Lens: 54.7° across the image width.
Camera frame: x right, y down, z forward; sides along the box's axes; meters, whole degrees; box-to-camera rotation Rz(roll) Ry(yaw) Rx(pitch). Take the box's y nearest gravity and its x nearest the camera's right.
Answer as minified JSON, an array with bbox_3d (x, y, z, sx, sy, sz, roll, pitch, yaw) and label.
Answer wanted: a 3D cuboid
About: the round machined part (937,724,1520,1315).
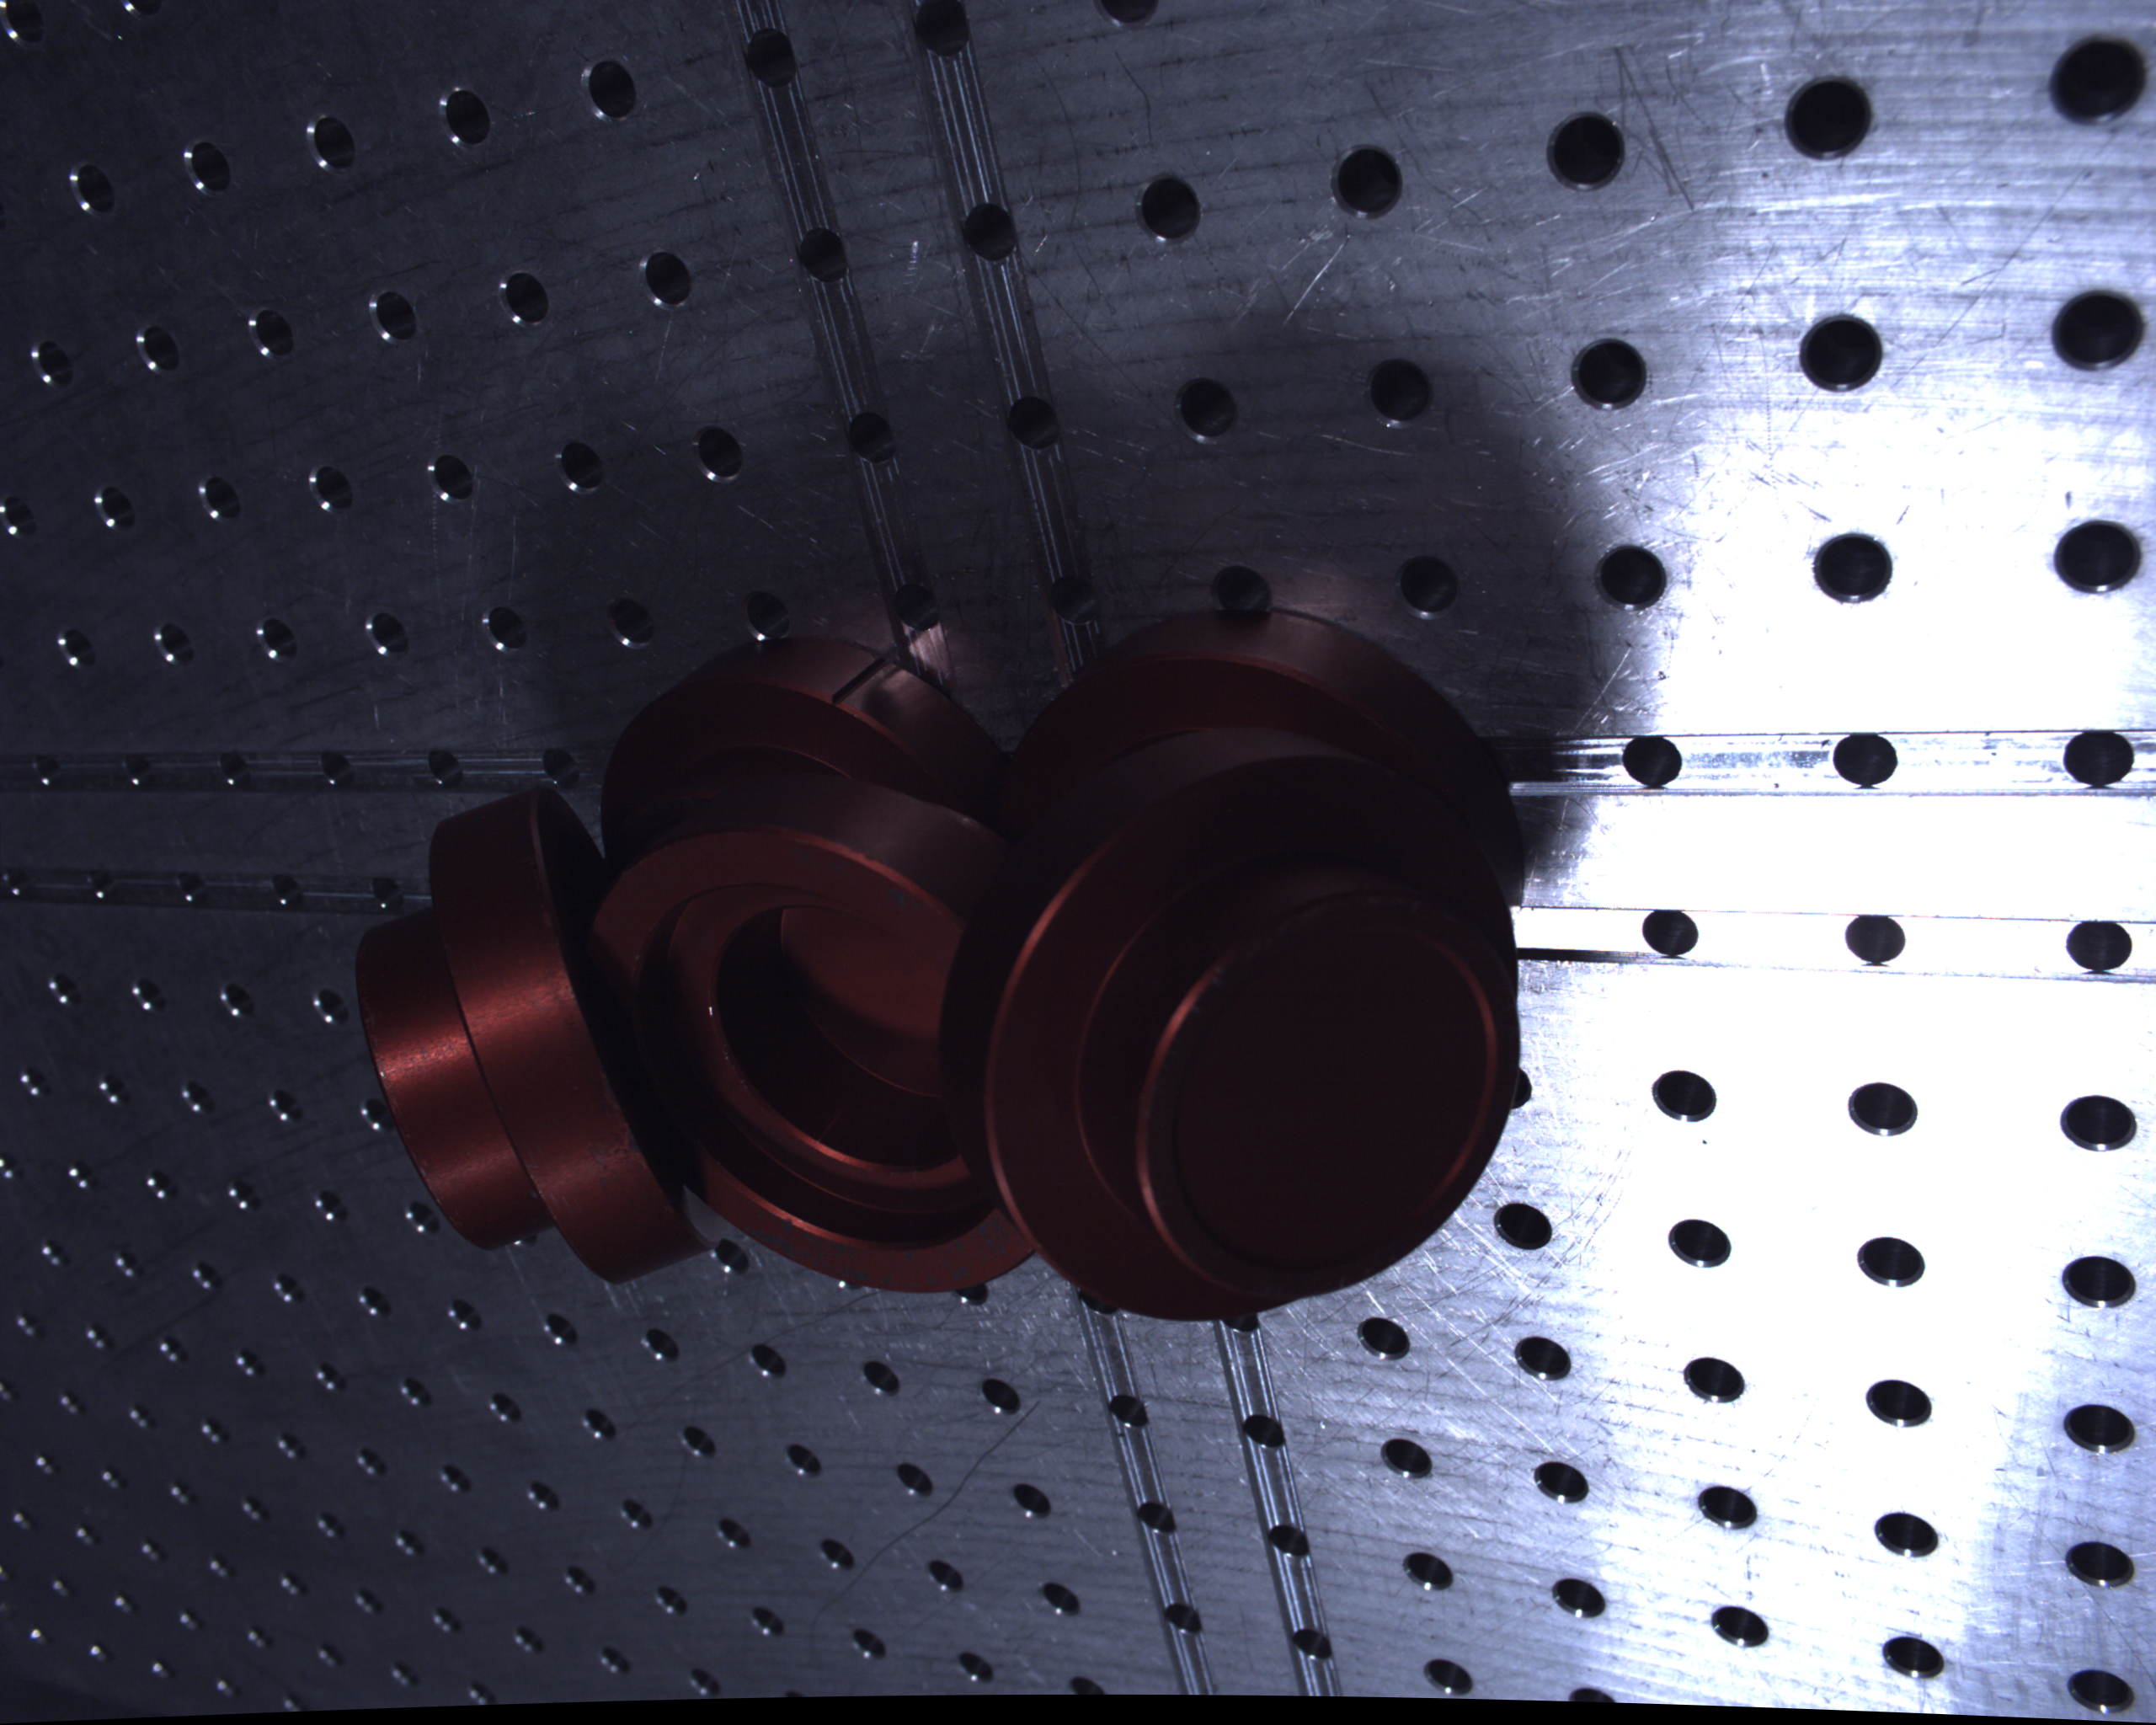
[{"bbox_3d":[0.031,0.030,0.336,0.042,0.099,0.097,37,145,59],"label":"round machined part"}]

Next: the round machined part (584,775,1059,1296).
[{"bbox_3d":[-0.037,0.027,0.379,0.098,0.042,0.097,13,124,20],"label":"round machined part"}]

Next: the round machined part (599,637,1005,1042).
[{"bbox_3d":[-0.058,0.006,0.432,0.098,0.042,0.097,13,124,20],"label":"round machined part"}]

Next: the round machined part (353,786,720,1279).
[{"bbox_3d":[-0.108,0.037,0.412,0.042,0.098,0.097,-21,112,-4],"label":"round machined part"}]

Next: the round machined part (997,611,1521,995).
[{"bbox_3d":[0.029,0.006,0.387,0.098,0.042,0.097,13,124,20],"label":"round machined part"}]
